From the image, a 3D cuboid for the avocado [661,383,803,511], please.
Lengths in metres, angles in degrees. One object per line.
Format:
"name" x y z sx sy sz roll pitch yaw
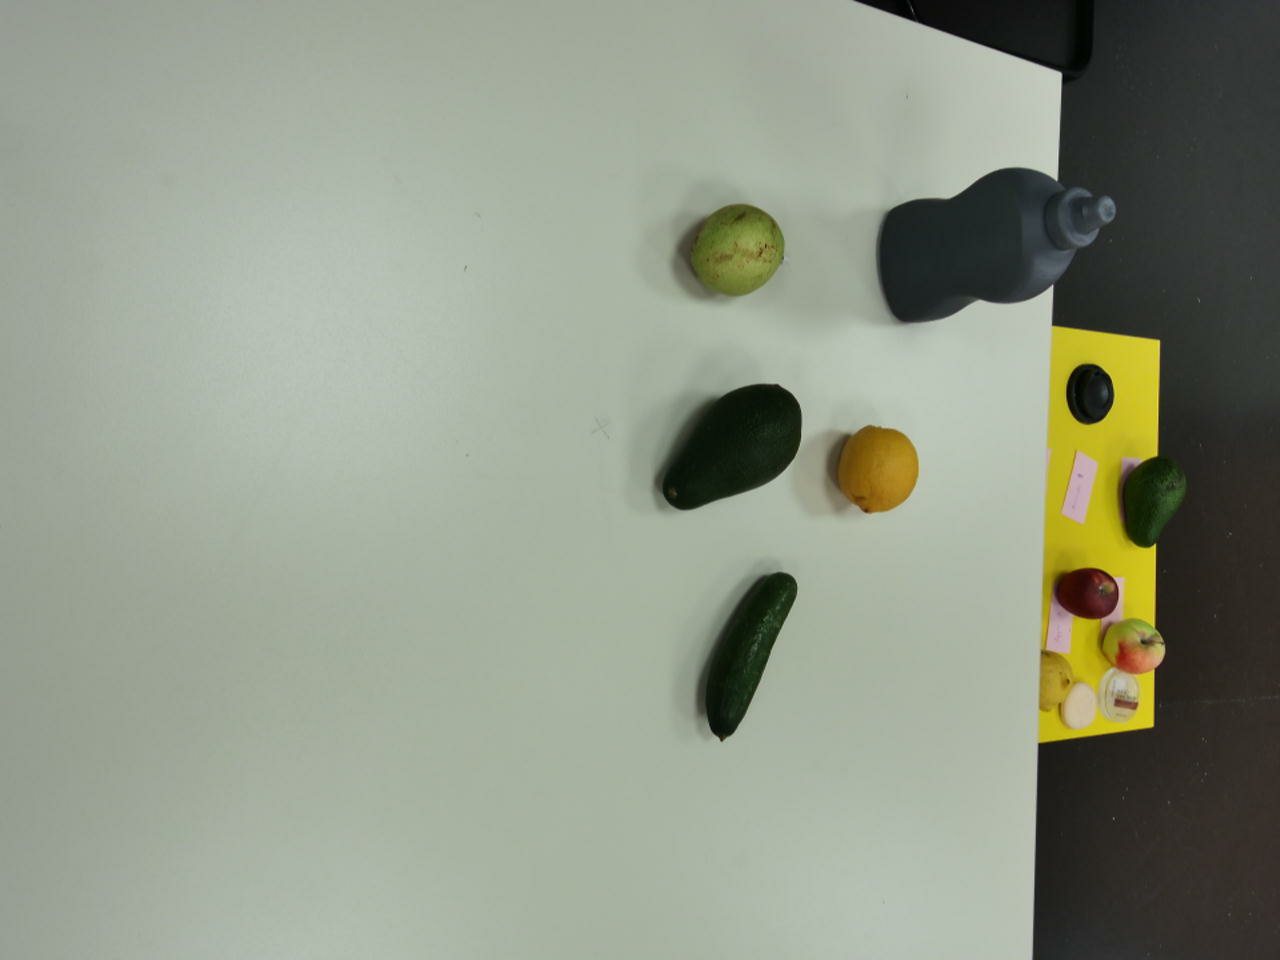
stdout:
"avocado" 0.065 -0.026 0.707 0.109 0.071 0.072 -21 100 -26
